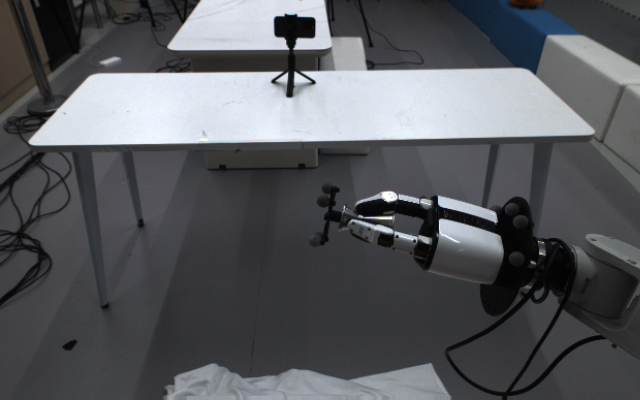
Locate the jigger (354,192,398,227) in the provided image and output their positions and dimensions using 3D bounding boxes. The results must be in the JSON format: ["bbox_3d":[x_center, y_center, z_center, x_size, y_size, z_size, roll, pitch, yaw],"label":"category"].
[{"bbox_3d":[0.068,0.028,0.643,0.071,0.043,0.043,12,36,5],"label":"jigger"}]
